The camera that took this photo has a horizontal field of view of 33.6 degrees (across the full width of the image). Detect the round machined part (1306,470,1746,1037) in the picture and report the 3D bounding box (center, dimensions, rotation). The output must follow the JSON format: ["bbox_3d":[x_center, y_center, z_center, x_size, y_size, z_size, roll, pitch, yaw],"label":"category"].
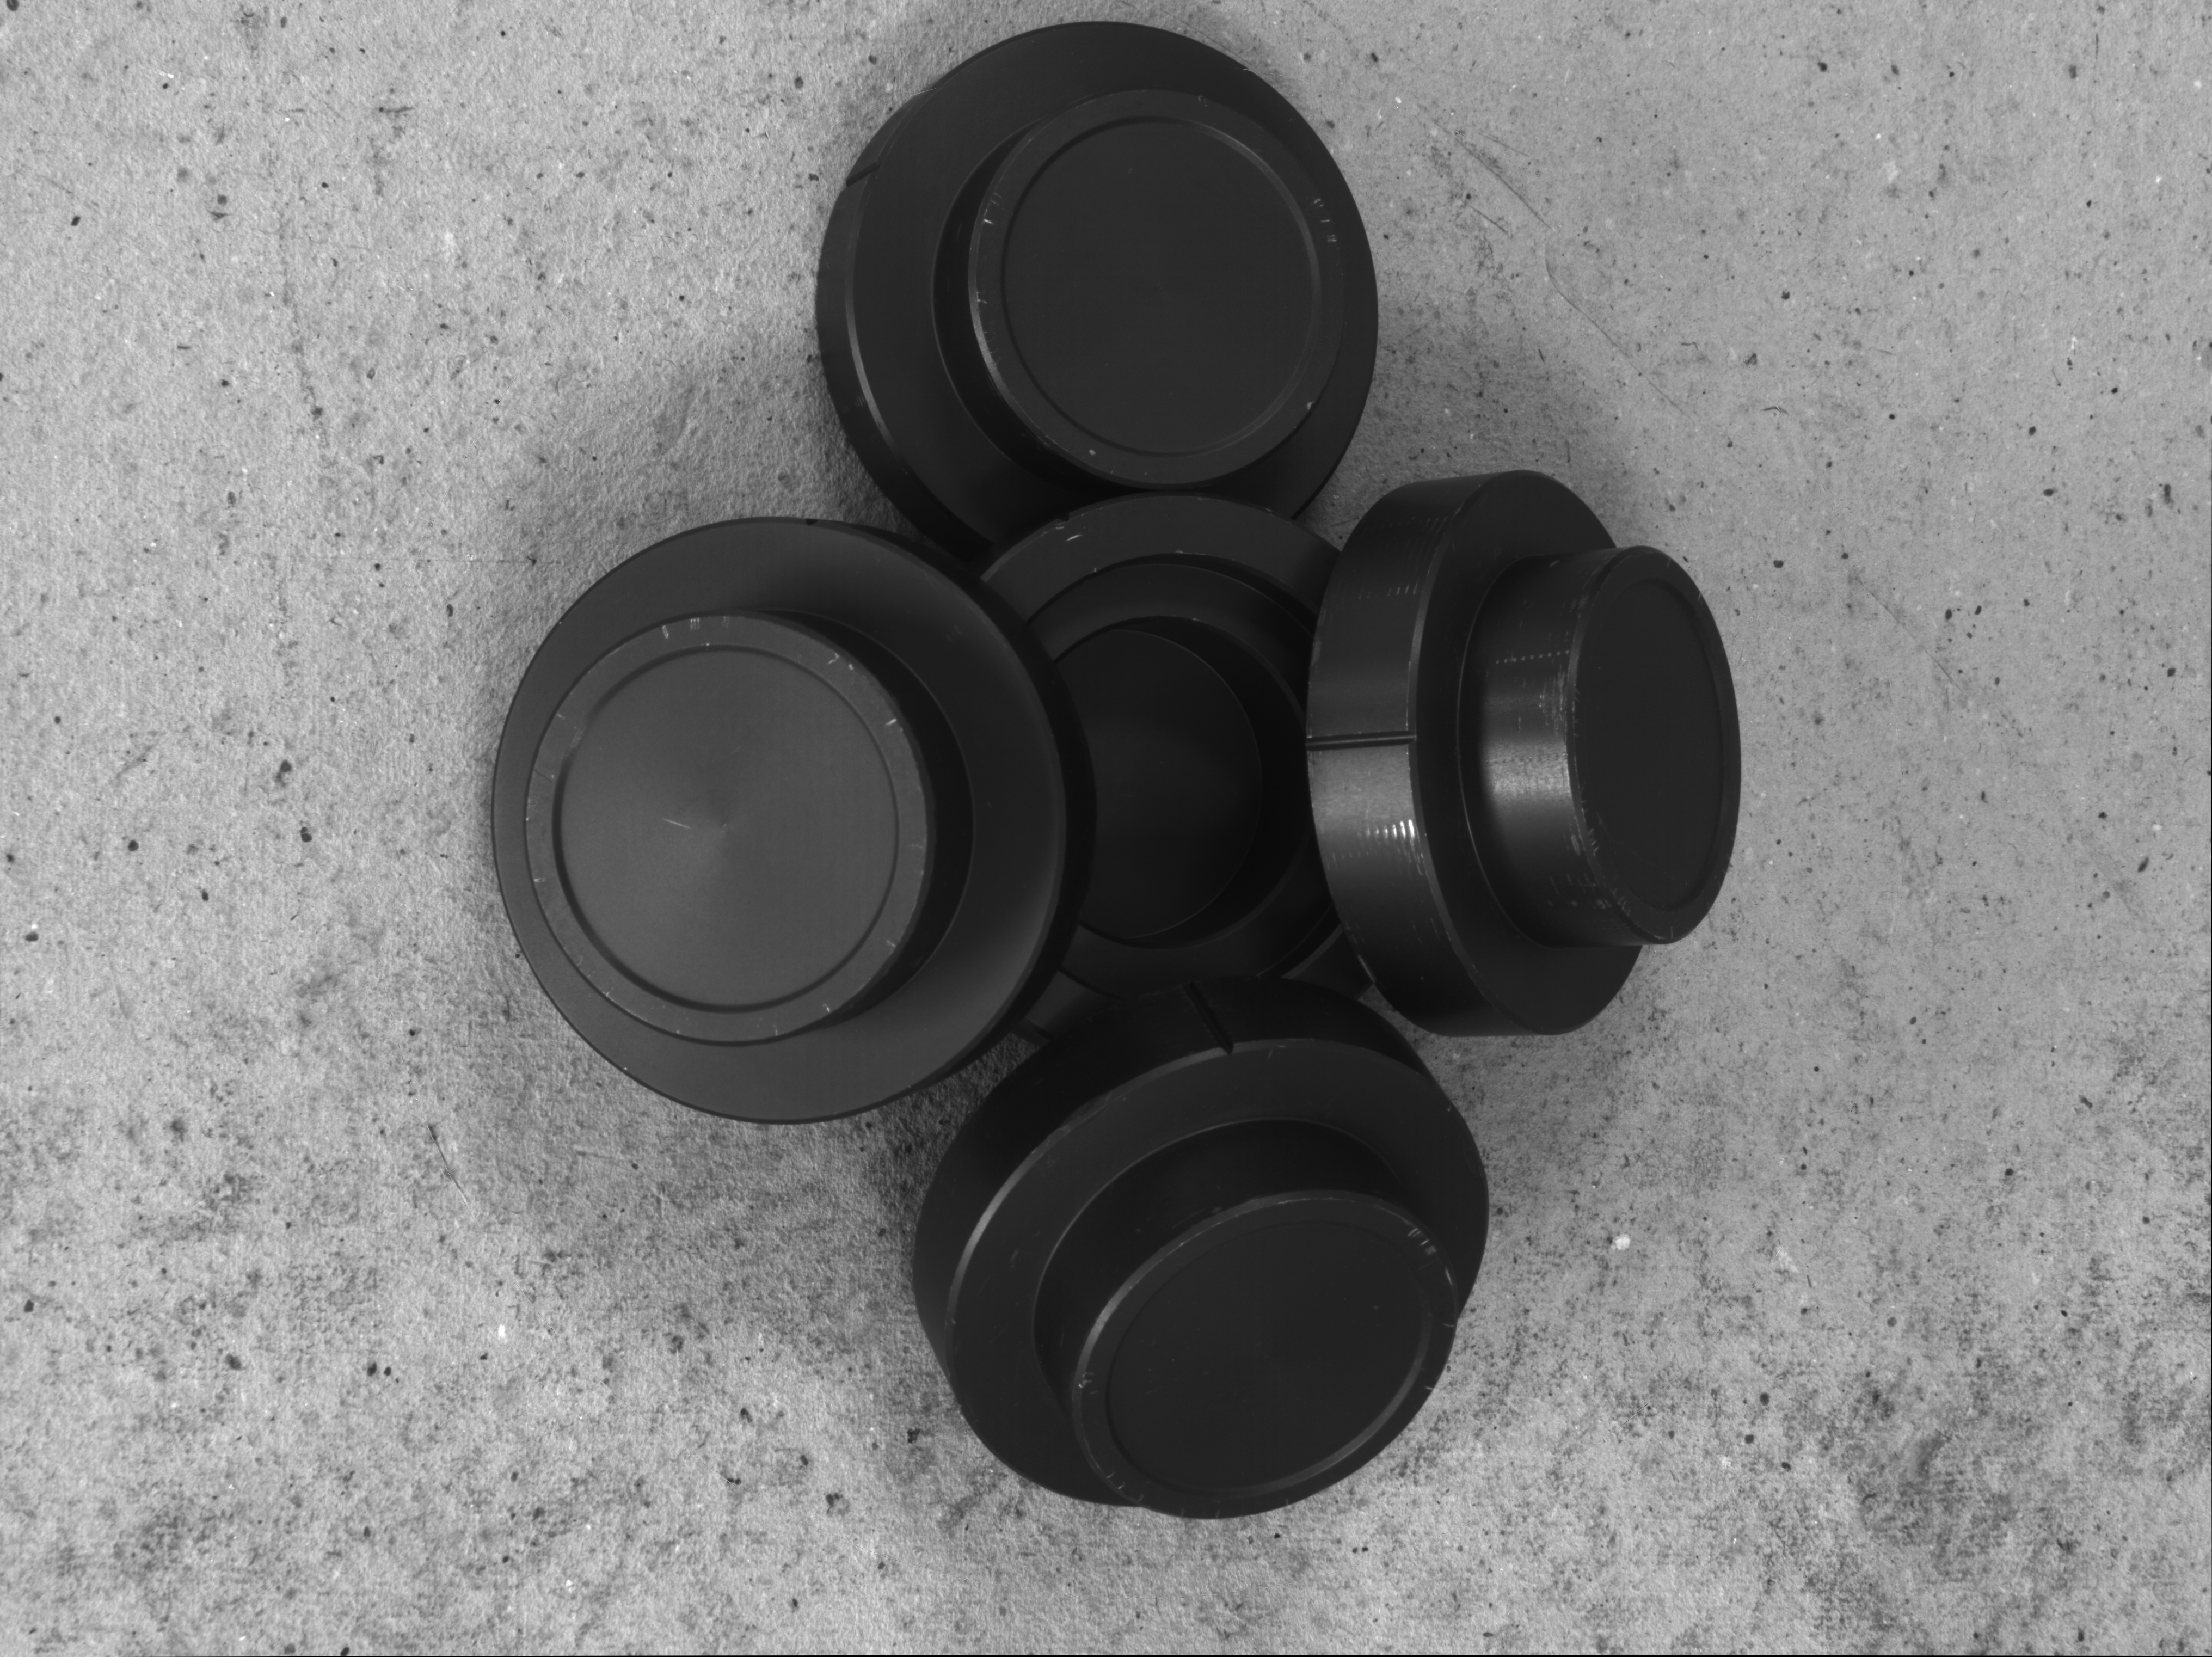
[{"bbox_3d":[0.078,-0.013,0.635,0.098,0.042,0.098,8,80,-55],"label":"round machined part"}]

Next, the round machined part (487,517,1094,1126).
[{"bbox_3d":[-0.054,-0.001,0.589,0.098,0.042,0.098,1,94,13],"label":"round machined part"}]

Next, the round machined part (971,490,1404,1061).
[{"bbox_3d":[0.007,-0.008,0.636,0.098,0.042,0.098,0,89,-18],"label":"round machined part"}]

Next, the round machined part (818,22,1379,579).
[{"bbox_3d":[0.003,-0.091,0.635,0.098,0.042,0.098,1,88,-20],"label":"round machined part"}]

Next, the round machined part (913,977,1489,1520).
[{"bbox_3d":[0.020,0.077,0.618,0.098,0.042,0.098,-11,123,-16],"label":"round machined part"}]
